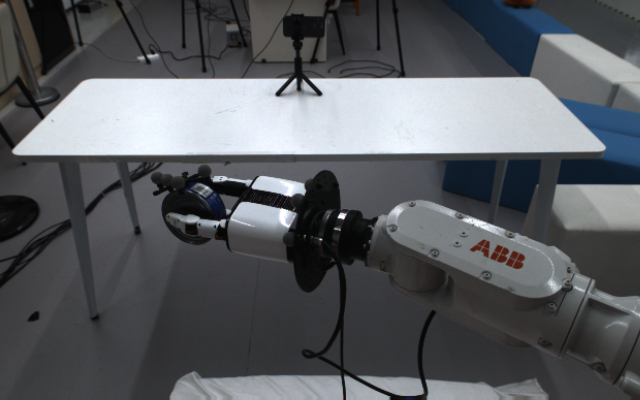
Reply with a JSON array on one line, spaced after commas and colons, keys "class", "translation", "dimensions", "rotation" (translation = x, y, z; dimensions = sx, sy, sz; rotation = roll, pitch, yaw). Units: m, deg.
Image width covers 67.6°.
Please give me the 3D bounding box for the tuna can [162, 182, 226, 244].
[{"class": "tuna can", "translation": [-0.171, 0.020, 0.680], "dimensions": [0.085, 0.085, 0.034], "rotation": [12, 28, 15]}]
